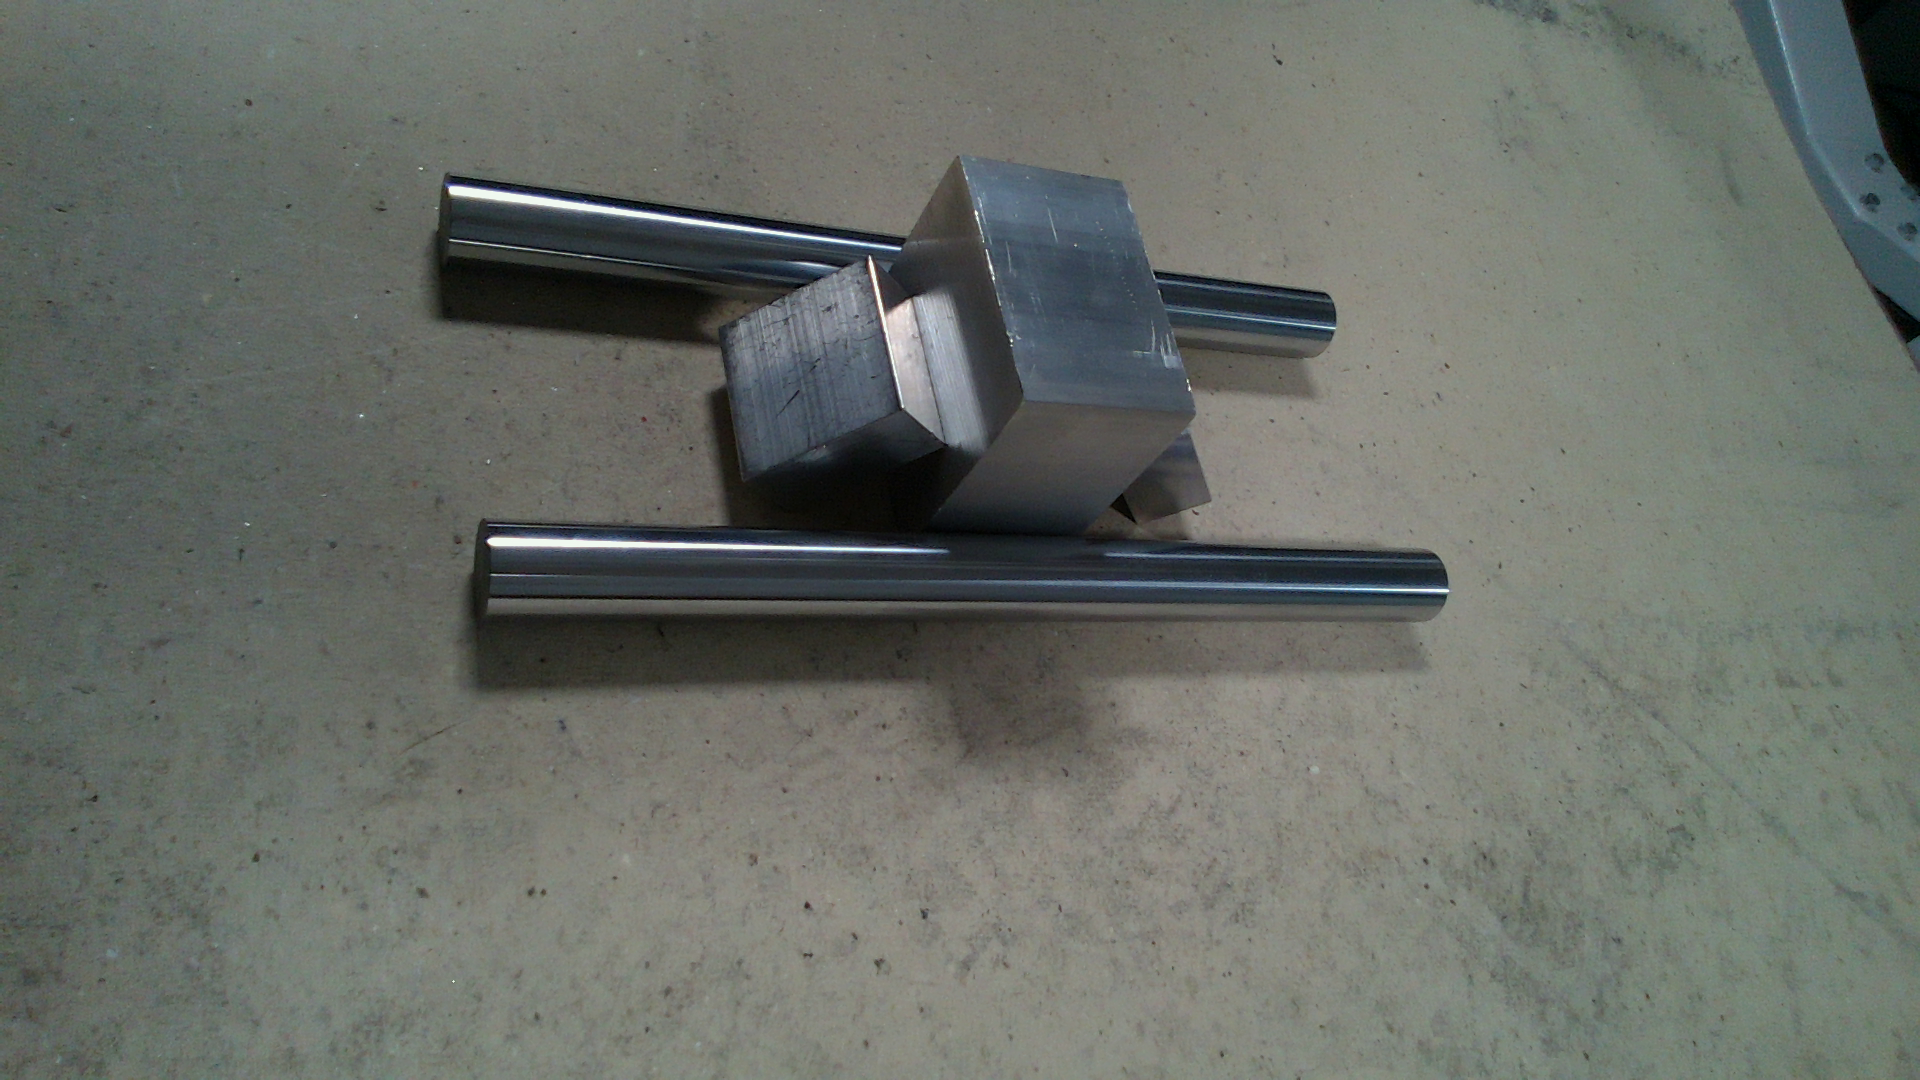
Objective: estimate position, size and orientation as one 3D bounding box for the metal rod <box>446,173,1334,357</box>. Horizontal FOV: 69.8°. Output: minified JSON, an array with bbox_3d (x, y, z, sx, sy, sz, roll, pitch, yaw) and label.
[{"bbox_3d":[-0.004,-0.082,0.438,0.301,0.025,0.025,1,61,-28],"label":"metal rod"}]

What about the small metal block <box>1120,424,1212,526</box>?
[{"bbox_3d":[0.056,-0.040,0.426,0.025,0.050,0.050,-19,64,10],"label":"small metal block"}]

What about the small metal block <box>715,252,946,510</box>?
[{"bbox_3d":[-0.036,-0.043,0.379,0.025,0.050,0.050,36,36,-58],"label":"small metal block"}]

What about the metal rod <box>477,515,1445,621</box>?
[{"bbox_3d":[0.020,0.011,0.394,0.301,0.025,0.025,2,61,-27],"label":"metal rod"}]

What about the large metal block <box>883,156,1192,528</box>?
[{"bbox_3d":[0.013,-0.048,0.394,0.050,0.080,0.080,1,61,-28],"label":"large metal block"}]
